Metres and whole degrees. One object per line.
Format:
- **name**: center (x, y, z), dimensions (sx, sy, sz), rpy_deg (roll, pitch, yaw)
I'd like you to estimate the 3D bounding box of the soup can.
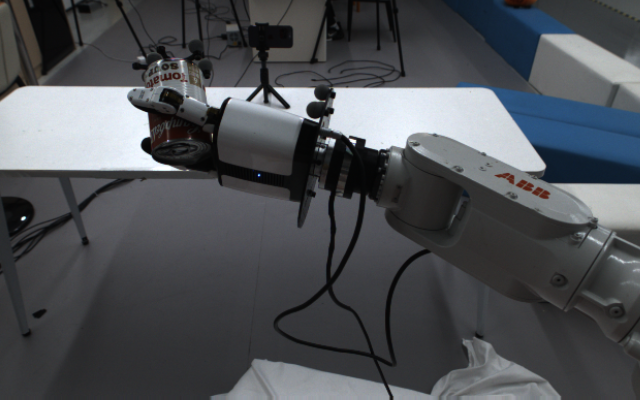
- **soup can**: center (-0.159, -0.098, 0.548), dimensions (0.067, 0.067, 0.101), rpy_deg (-8, 73, -14)
